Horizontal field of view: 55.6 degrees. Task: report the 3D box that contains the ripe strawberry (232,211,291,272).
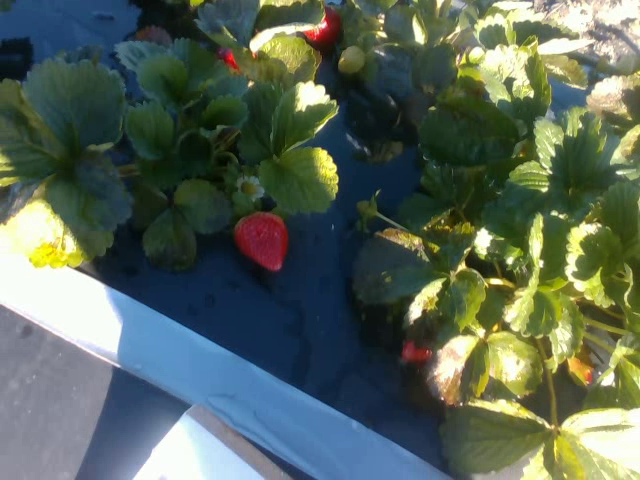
[{"bbox_3d":[-0.041,0.002,0.448,0.045,0.059,0.042,-26,-19,14],"label":"ripe strawberry"}]
